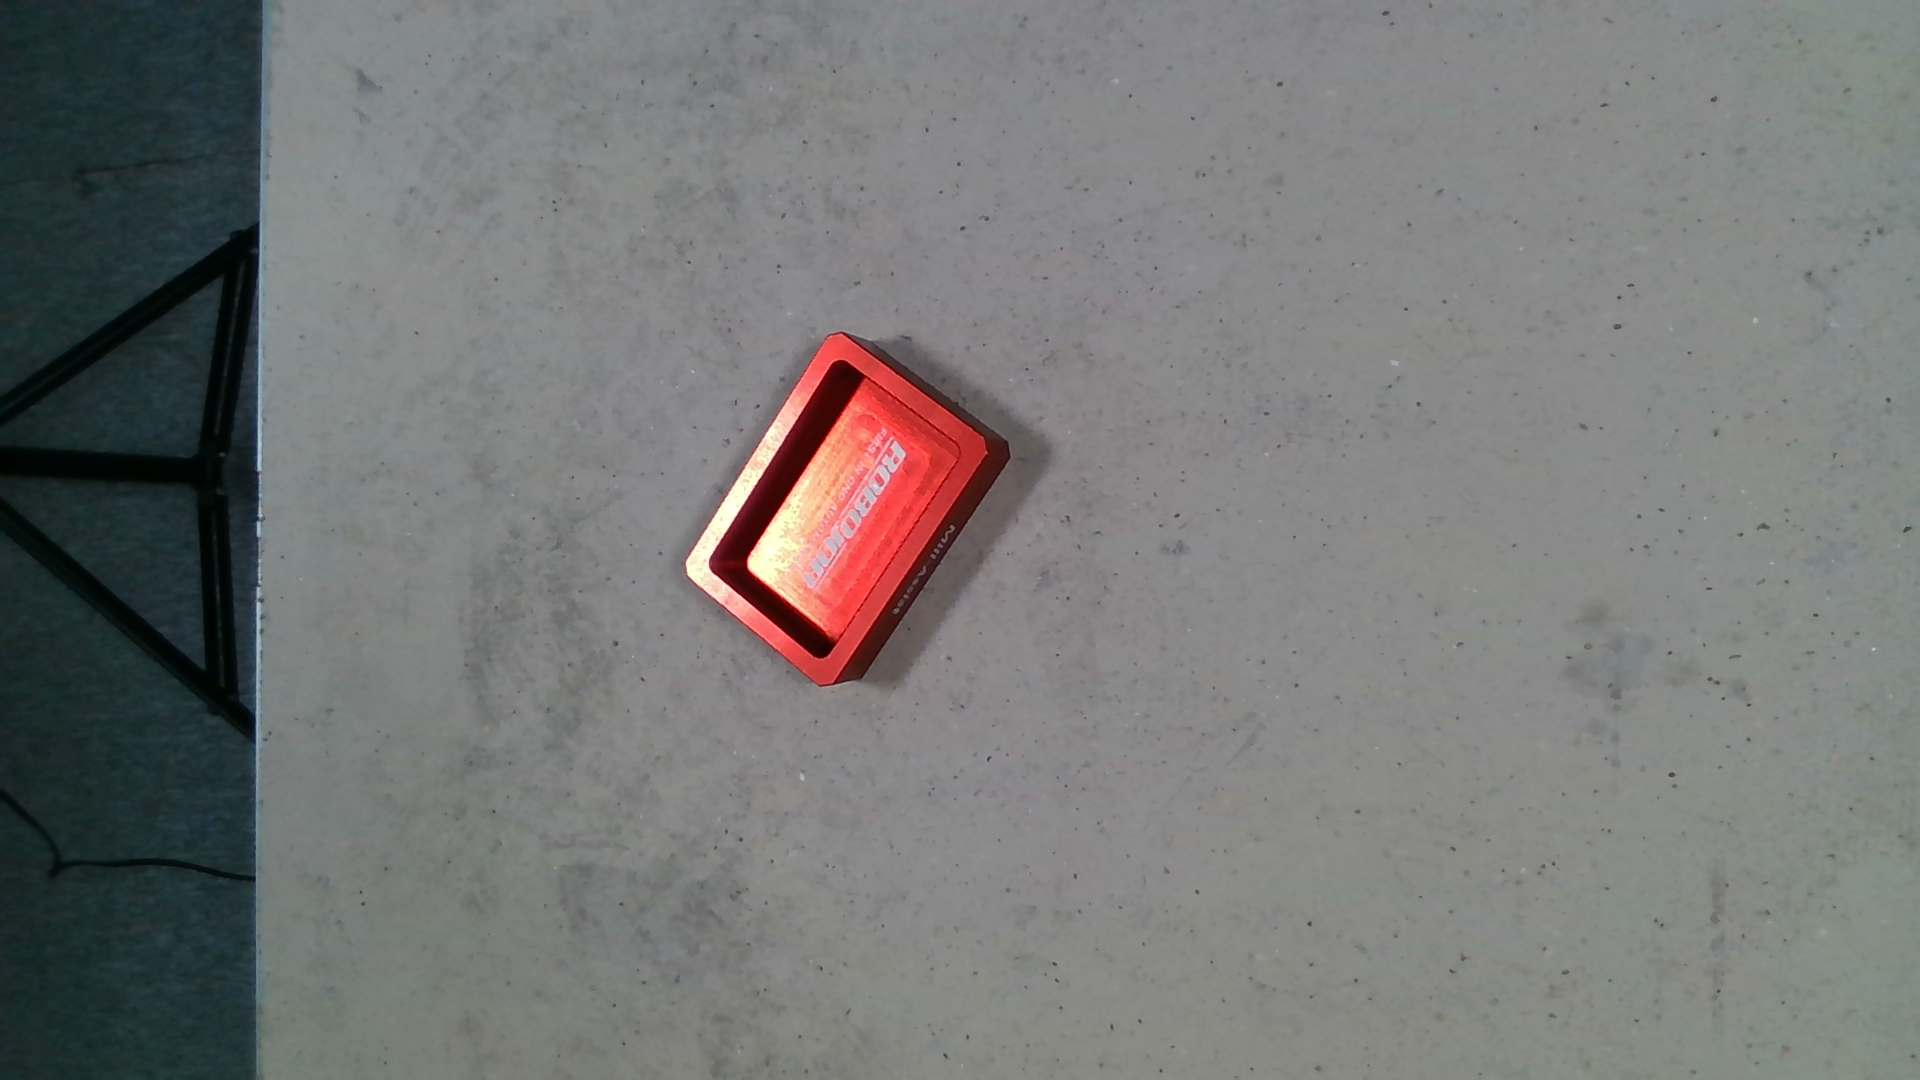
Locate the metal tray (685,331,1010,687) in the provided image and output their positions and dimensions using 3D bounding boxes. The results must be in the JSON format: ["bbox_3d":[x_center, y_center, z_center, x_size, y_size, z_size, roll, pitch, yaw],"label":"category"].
[{"bbox_3d":[-0.050,-0.013,0.601,0.090,0.030,0.130,38,103,16],"label":"metal tray"}]
